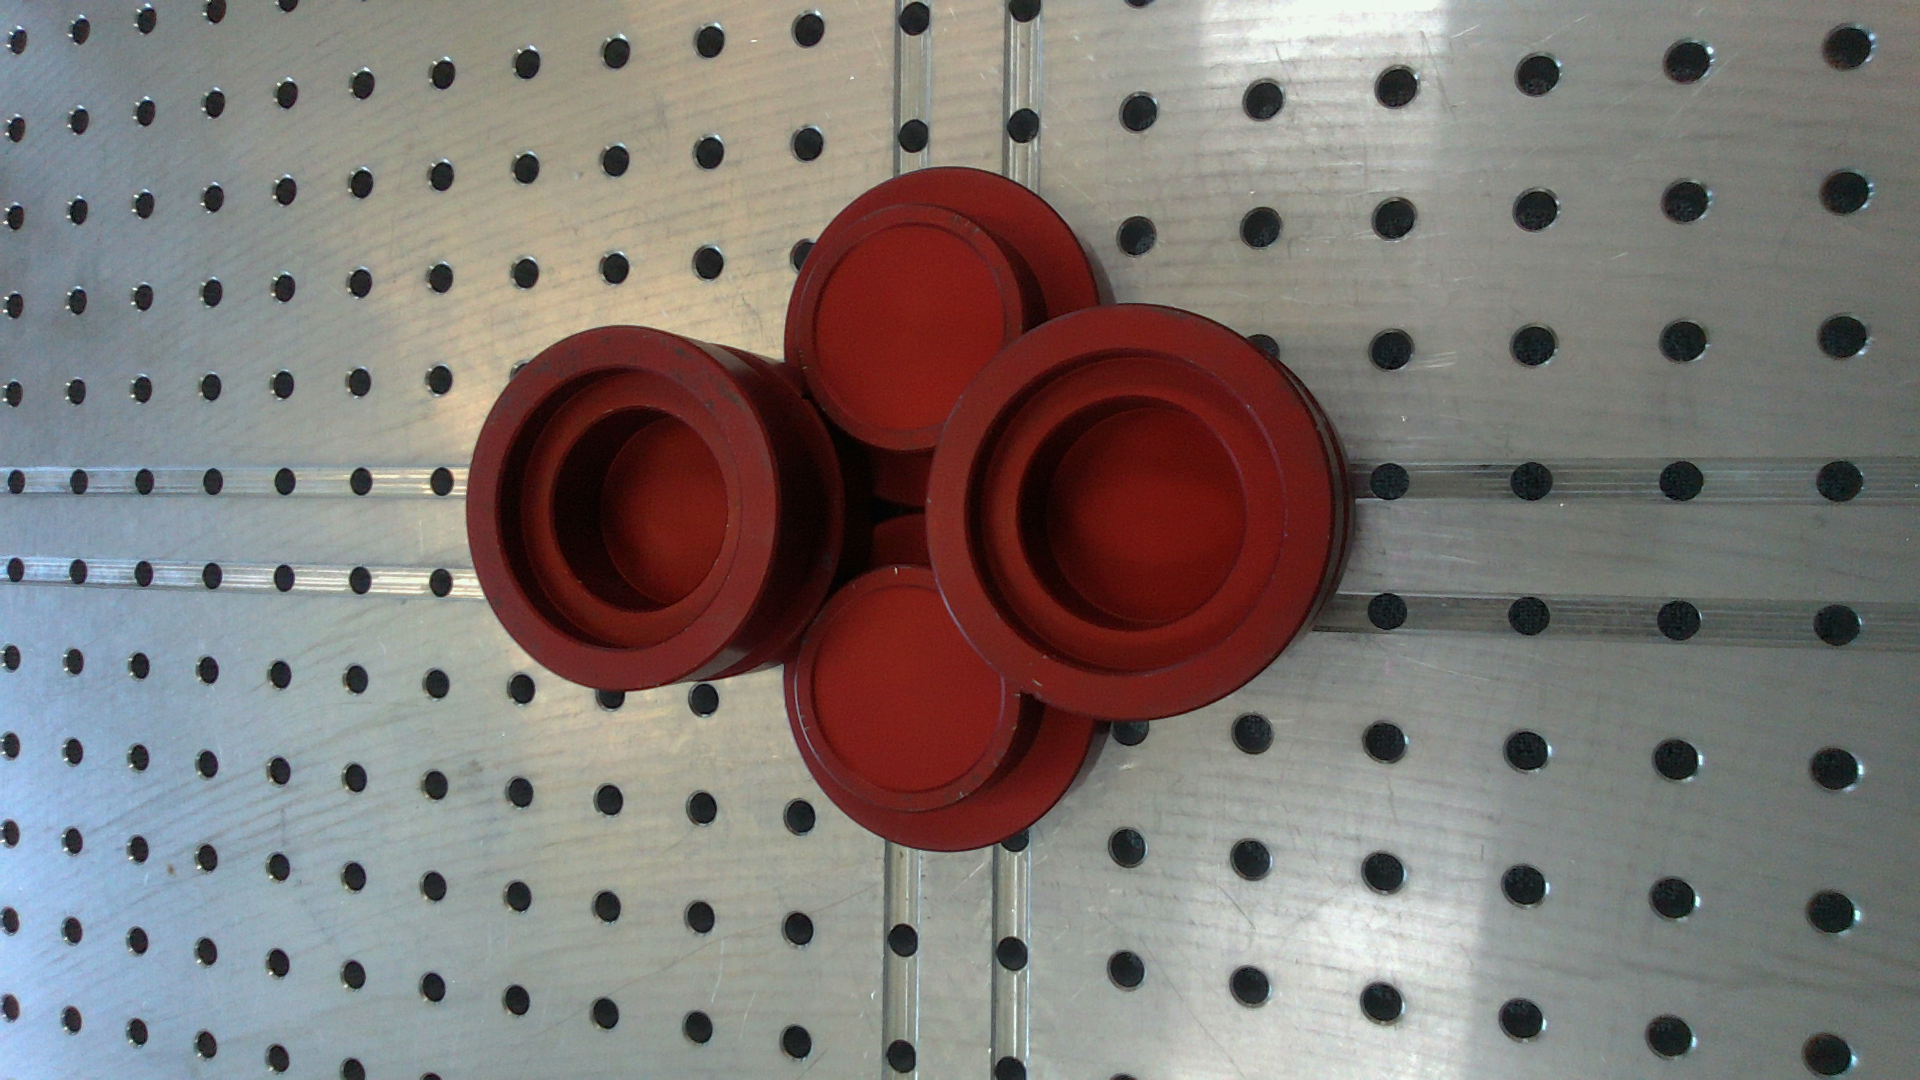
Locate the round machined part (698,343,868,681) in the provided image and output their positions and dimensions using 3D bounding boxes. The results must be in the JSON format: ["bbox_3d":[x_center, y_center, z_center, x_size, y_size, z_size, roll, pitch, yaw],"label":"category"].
[{"bbox_3d":[-0.072,-0.008,0.415,0.098,0.042,0.098,0,90,20],"label":"round machined part"}]

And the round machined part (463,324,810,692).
[{"bbox_3d":[-0.086,-0.008,0.385,0.098,0.042,0.098,0,90,20],"label":"round machined part"}]

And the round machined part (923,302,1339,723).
[{"bbox_3d":[0.044,-0.006,0.339,0.098,0.042,0.098,0,90,20],"label":"round machined part"}]

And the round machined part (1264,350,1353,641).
[{"bbox_3d":[0.055,-0.008,0.369,0.098,0.042,0.098,0,90,20],"label":"round machined part"}]

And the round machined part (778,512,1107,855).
[{"bbox_3d":[-0.009,0.041,0.392,0.098,0.042,0.098,0,90,20],"label":"round machined part"}]

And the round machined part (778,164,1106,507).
[{"bbox_3d":[-0.009,-0.058,0.392,0.098,0.042,0.098,0,90,20],"label":"round machined part"}]
